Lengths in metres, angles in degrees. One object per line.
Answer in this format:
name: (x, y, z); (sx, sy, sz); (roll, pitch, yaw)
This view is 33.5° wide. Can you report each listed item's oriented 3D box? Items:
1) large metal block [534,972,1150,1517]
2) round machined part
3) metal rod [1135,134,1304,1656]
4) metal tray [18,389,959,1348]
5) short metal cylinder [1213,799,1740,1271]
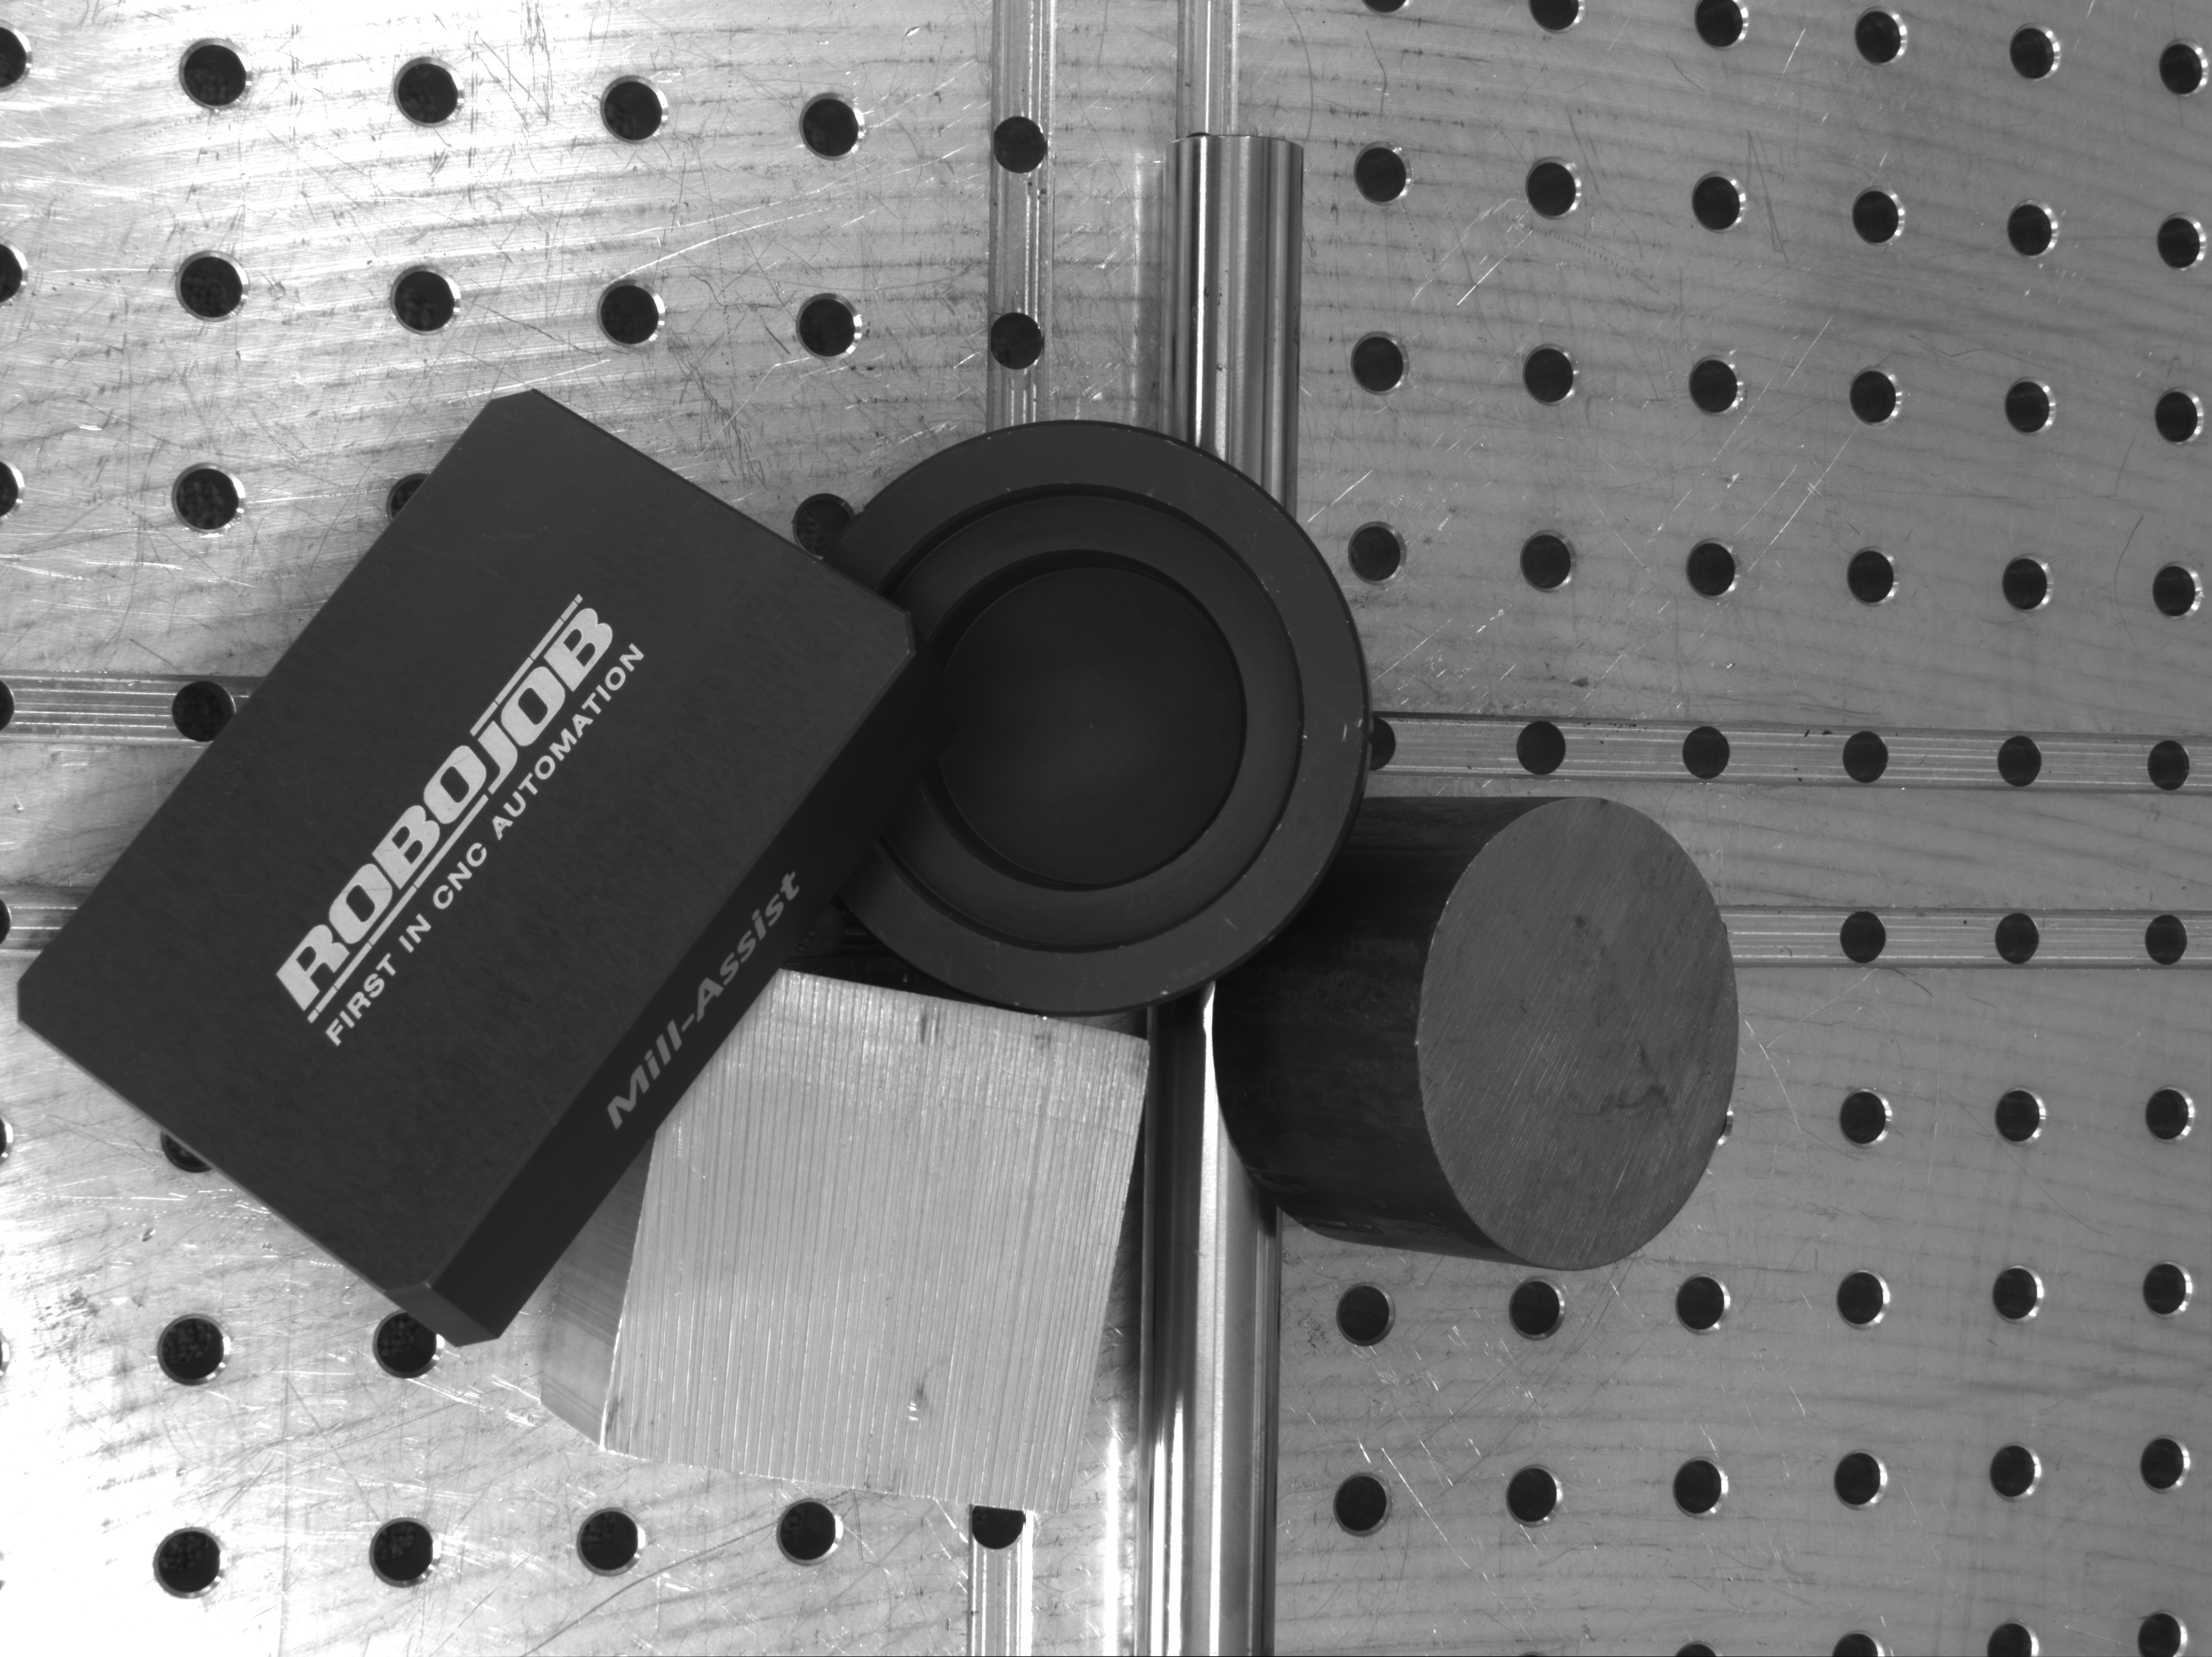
large metal block: (-0.045, 0.067, 0.616); (0.080, 0.050, 0.080); (11, 86, -19)
round machined part: (-0.004, -0.018, 0.622); (0.098, 0.042, 0.098); (0, 89, 6)
metal rod: (0.020, 0.029, 0.654); (0.025, 0.025, 0.300); (1, 90, -20)
metal tray: (-0.097, 0.004, 0.582); (0.090, 0.030, 0.130); (32, 77, 22)
short metal cylinder: (0.065, 0.035, 0.643); (0.080, 0.050, 0.080); (0, 90, -40)
